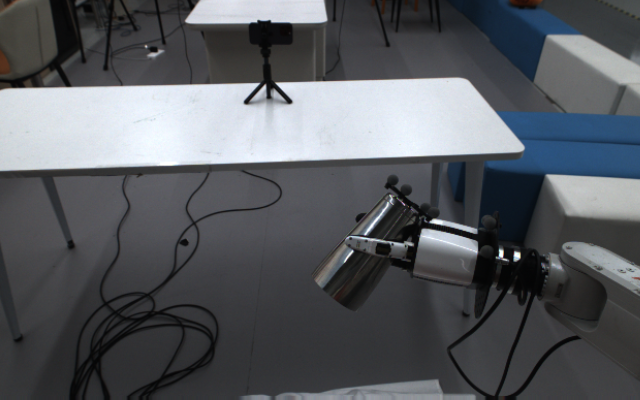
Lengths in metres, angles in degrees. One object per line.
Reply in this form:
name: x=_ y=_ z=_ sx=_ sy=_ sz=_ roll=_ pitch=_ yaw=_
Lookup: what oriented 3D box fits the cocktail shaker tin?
cocktail shaker tin: x=0.076 y=0.070 z=0.736 sx=0.170 sy=0.093 sz=0.093 roll=-50 pitch=46 yaw=4
